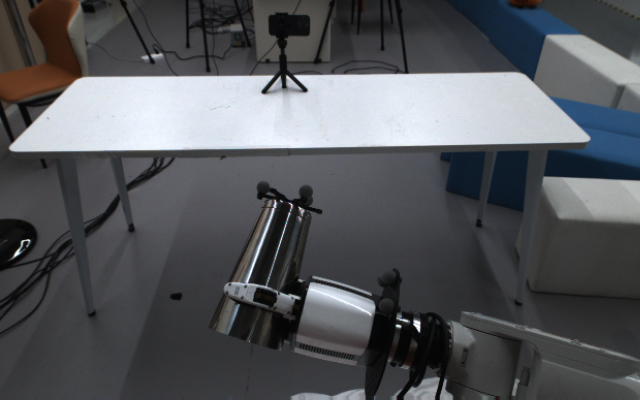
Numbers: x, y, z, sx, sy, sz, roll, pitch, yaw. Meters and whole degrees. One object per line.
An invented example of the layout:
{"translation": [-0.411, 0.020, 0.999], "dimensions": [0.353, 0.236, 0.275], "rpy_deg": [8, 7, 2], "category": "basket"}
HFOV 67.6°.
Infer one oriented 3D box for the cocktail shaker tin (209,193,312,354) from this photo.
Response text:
{"translation": [-0.066, 0.090, 0.605], "dimensions": [0.093, 0.093, 0.170], "rpy_deg": [13, 74, 15], "category": "cocktail shaker tin"}
